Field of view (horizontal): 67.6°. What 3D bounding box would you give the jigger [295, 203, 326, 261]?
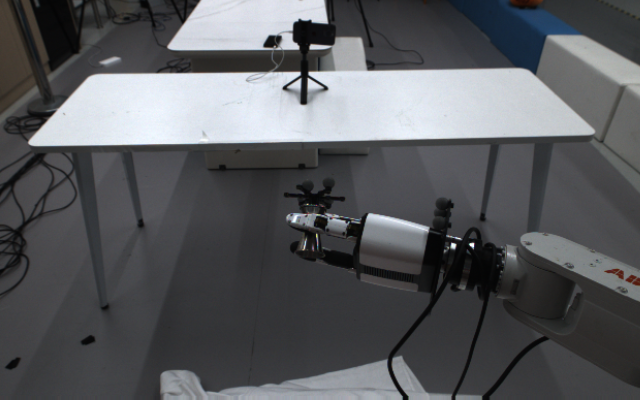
[{"bbox_3d":[-0.014,0.043,0.683,0.043,0.043,0.071,4,71,3],"label":"jigger"}]
